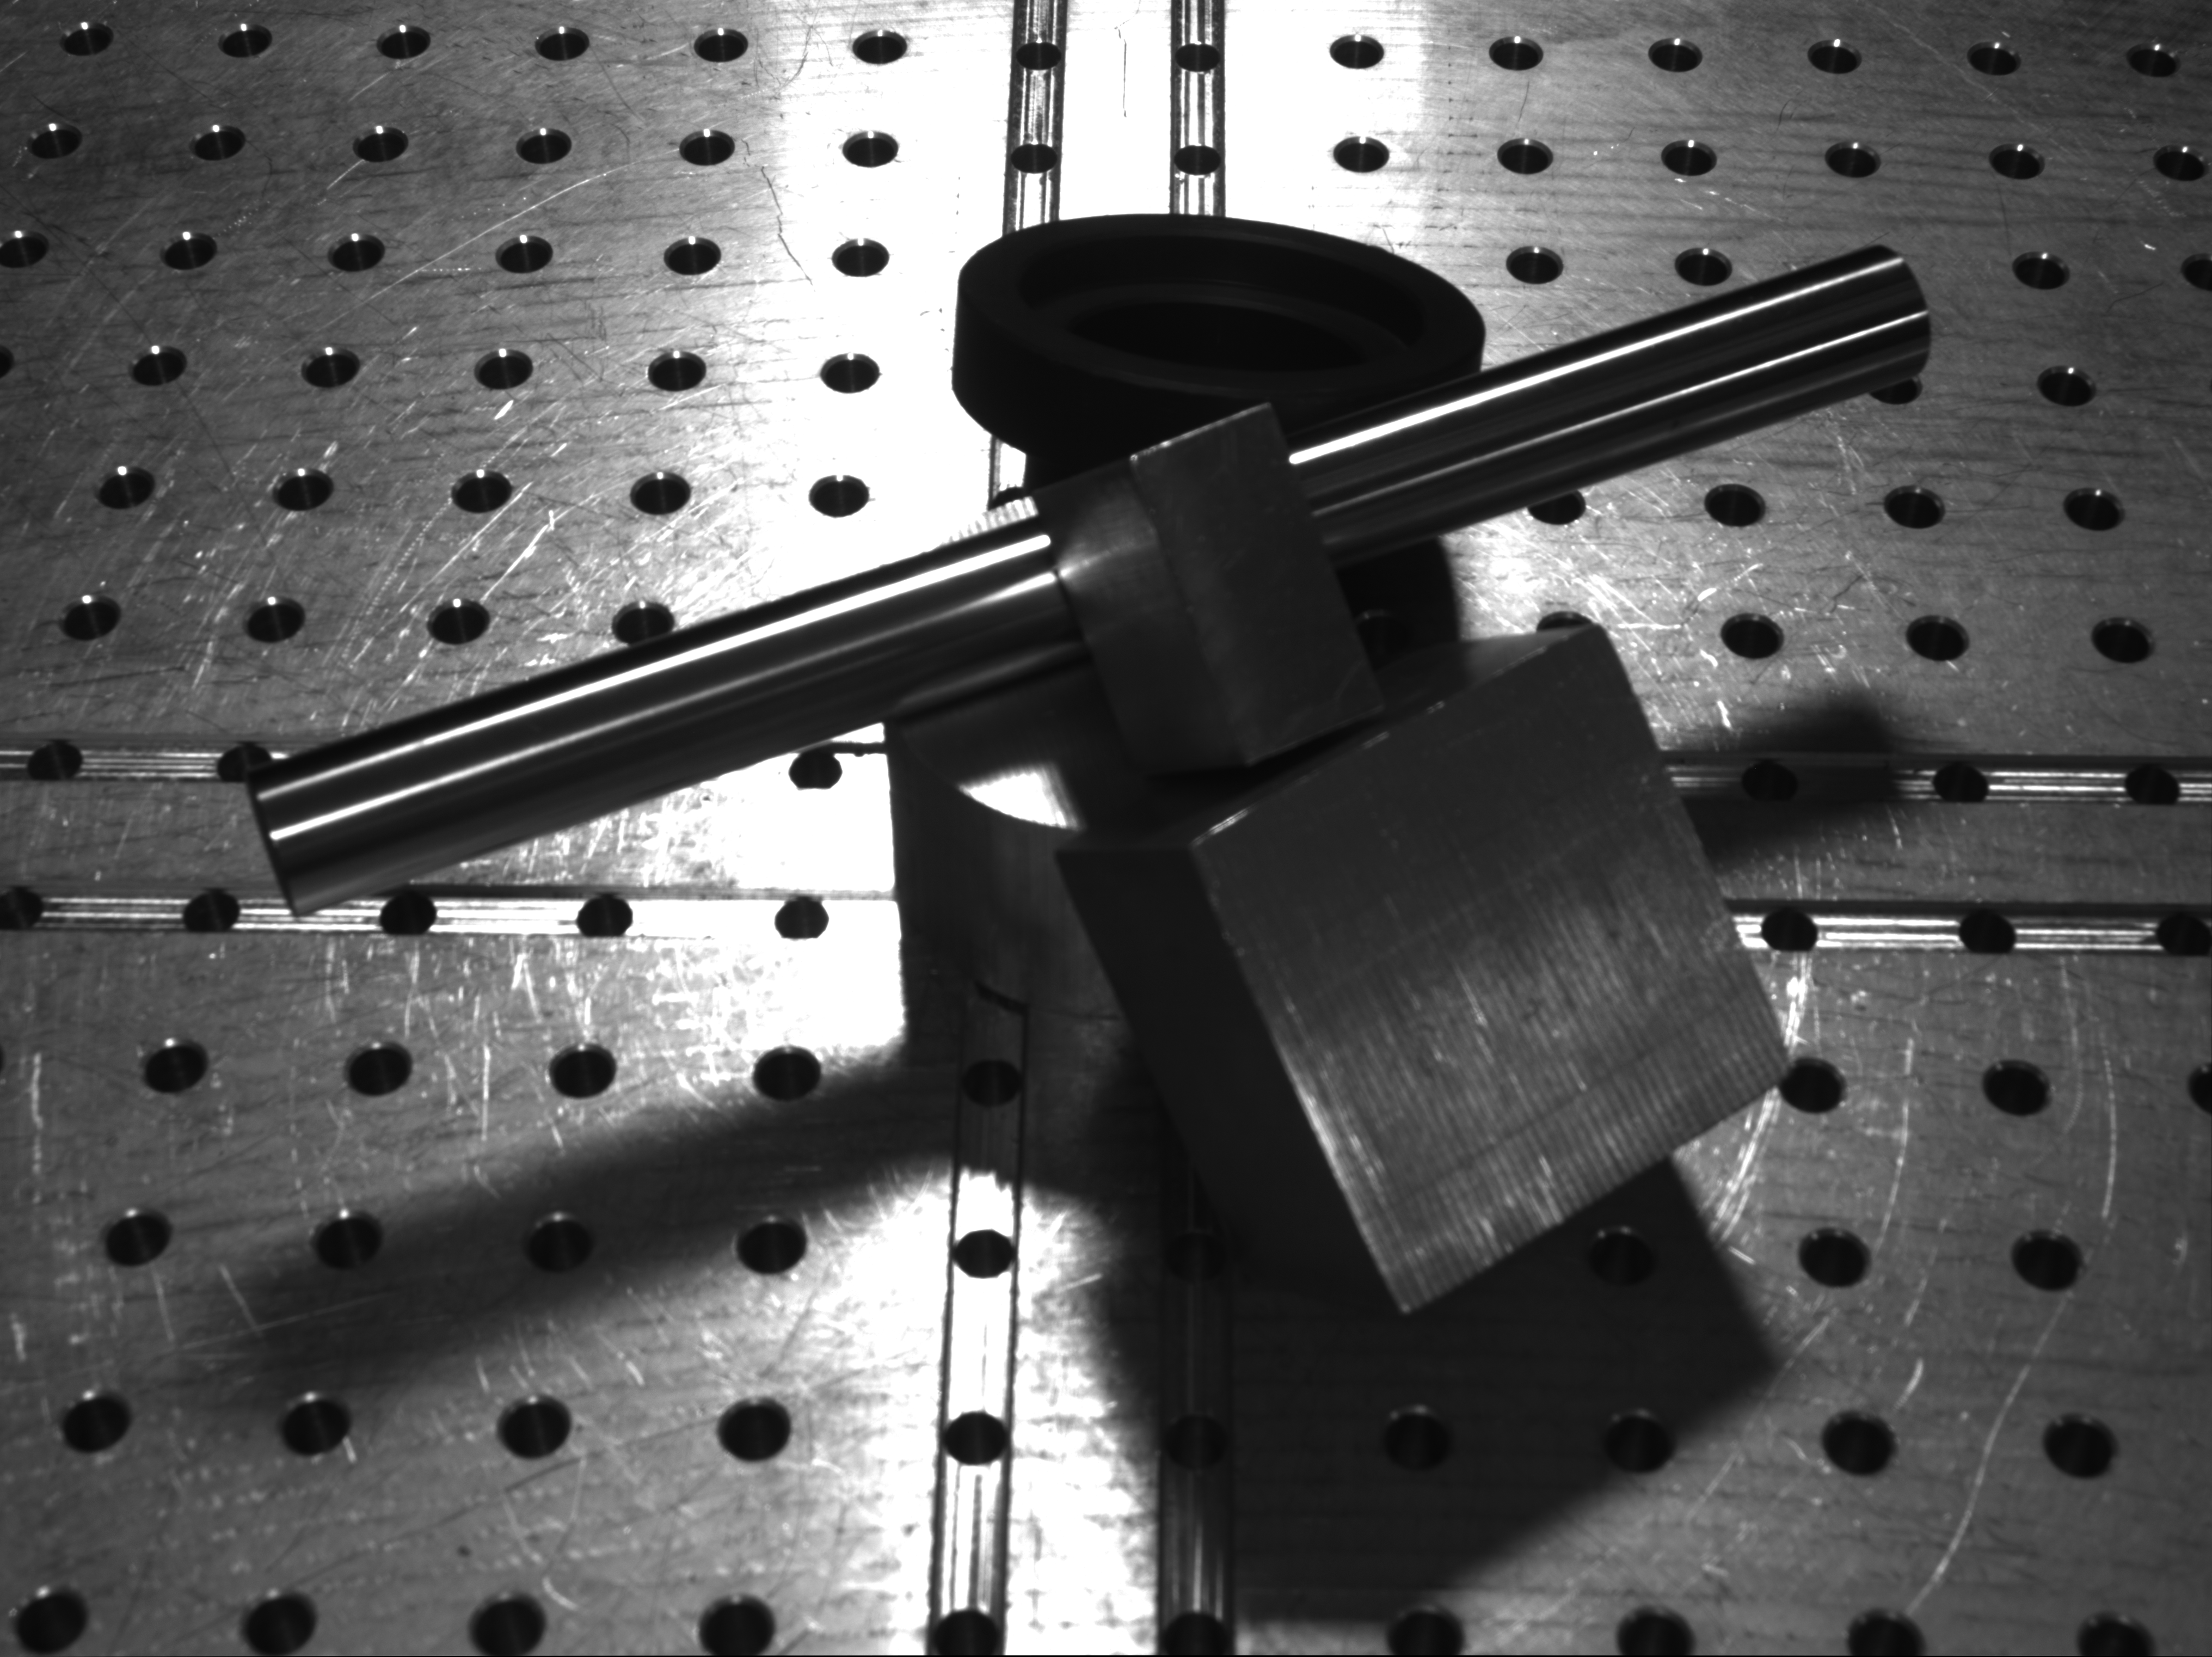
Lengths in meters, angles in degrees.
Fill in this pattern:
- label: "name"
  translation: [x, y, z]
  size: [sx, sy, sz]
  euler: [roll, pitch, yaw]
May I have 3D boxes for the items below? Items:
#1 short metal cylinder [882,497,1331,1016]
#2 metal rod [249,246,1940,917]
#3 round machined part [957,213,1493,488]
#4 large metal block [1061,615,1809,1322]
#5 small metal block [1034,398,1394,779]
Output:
- label: "short metal cylinder"
  translation: [0.002, -0.014, 0.640]
  size: [0.080, 0.050, 0.080]
  euler: [0, 50, 0]
- label: "metal rod"
  translation: [0.006, -0.045, 0.617]
  size: [0.300, 0.025, 0.025]
  euler: [-19, 52, -15]
- label: "round machined part"
  translation: [0.021, -0.080, 0.686]
  size: [0.098, 0.042, 0.098]
  euler: [5, 27, -2]
- label: "large metal block"
  translation: [0.052, 0.021, 0.581]
  size: [0.080, 0.050, 0.080]
  euler: [-28, 100, -22]
- label: "small metal block"
  translation: [0.016, -0.037, 0.580]
  size: [0.025, 0.050, 0.050]
  euler: [-23, 95, -18]
